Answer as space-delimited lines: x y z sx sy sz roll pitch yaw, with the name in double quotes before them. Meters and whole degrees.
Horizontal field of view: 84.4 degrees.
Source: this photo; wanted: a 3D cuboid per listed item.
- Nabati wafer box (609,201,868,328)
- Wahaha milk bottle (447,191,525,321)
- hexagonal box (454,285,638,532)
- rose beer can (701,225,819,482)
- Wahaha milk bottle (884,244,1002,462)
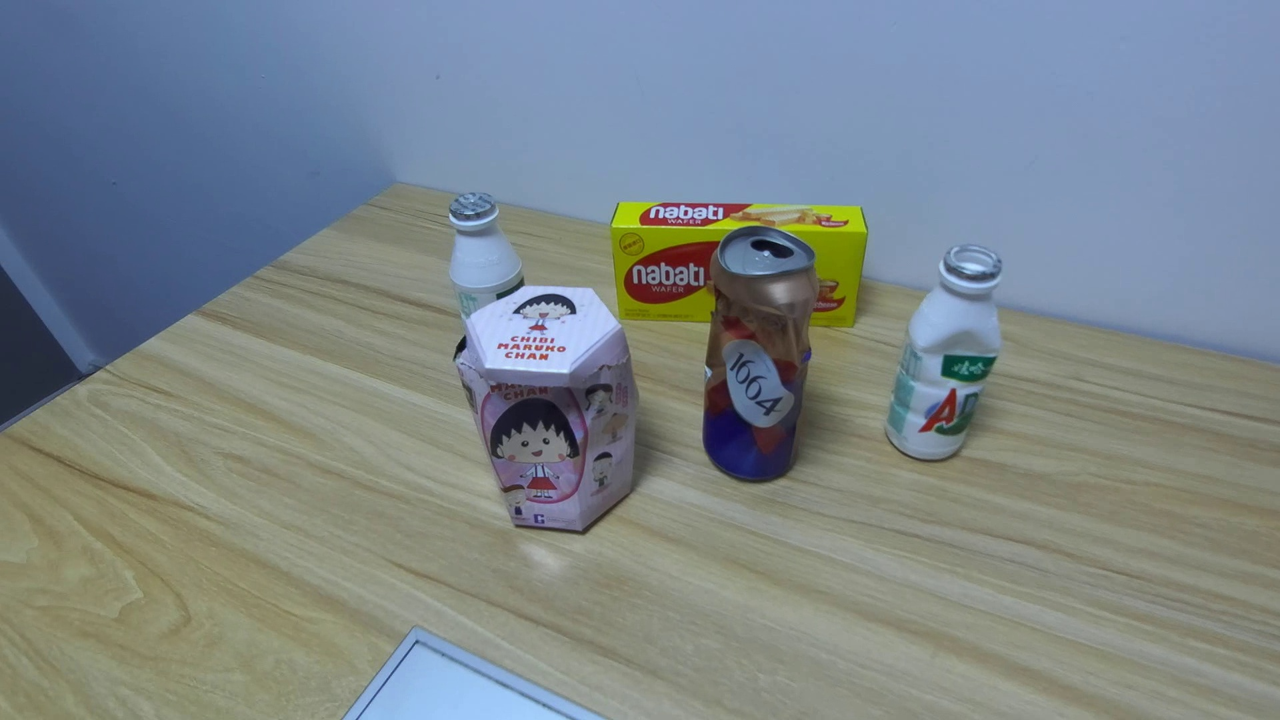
"Nabati wafer box" 0.080 -0.078 0.586 0.203 0.093 0.042 2 39 6
"Wahaha milk bottle" -0.110 -0.050 0.529 0.053 0.147 0.053 -4 36 3
"hexagonal box" -0.054 0.031 0.439 0.090 0.135 0.090 -29 45 -31
"rose beer can" 0.073 0.001 0.443 0.073 0.162 0.068 17 42 21
"Wahaha milk bottle" 0.195 -0.001 0.449 0.056 0.148 0.056 -2 40 2
